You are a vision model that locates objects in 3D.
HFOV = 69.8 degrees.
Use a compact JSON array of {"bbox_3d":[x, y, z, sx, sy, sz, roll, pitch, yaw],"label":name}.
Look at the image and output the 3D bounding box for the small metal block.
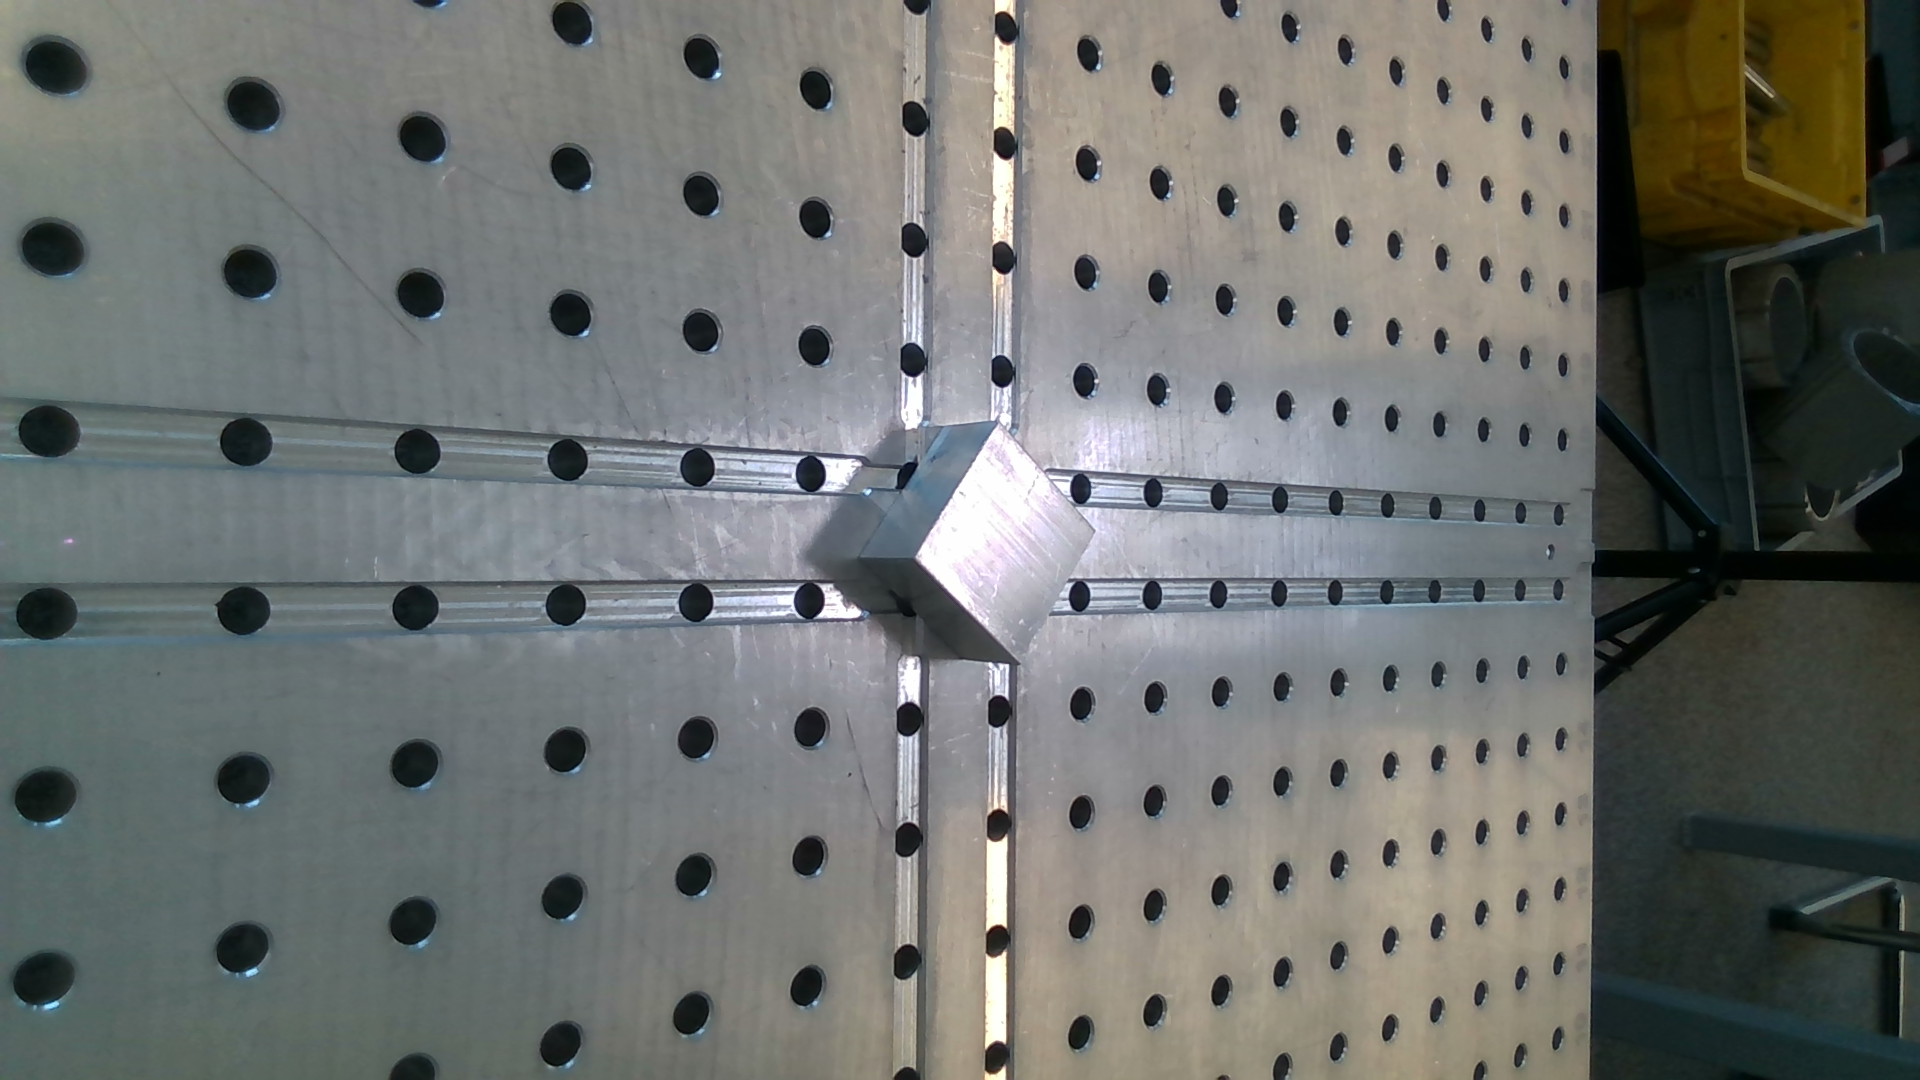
[{"bbox_3d":[0.006,0.001,0.399,0.050,0.025,0.050,46,63,-30],"label":"small metal block"}]
